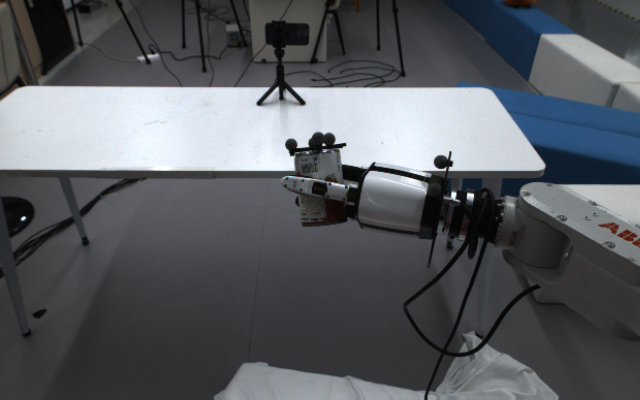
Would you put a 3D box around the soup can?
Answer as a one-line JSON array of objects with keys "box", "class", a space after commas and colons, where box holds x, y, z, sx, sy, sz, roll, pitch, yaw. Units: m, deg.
[{"box": [0.002, -0.017, 0.682, 0.067, 0.101, 0.067, -7, 3, 0], "class": "soup can"}]
